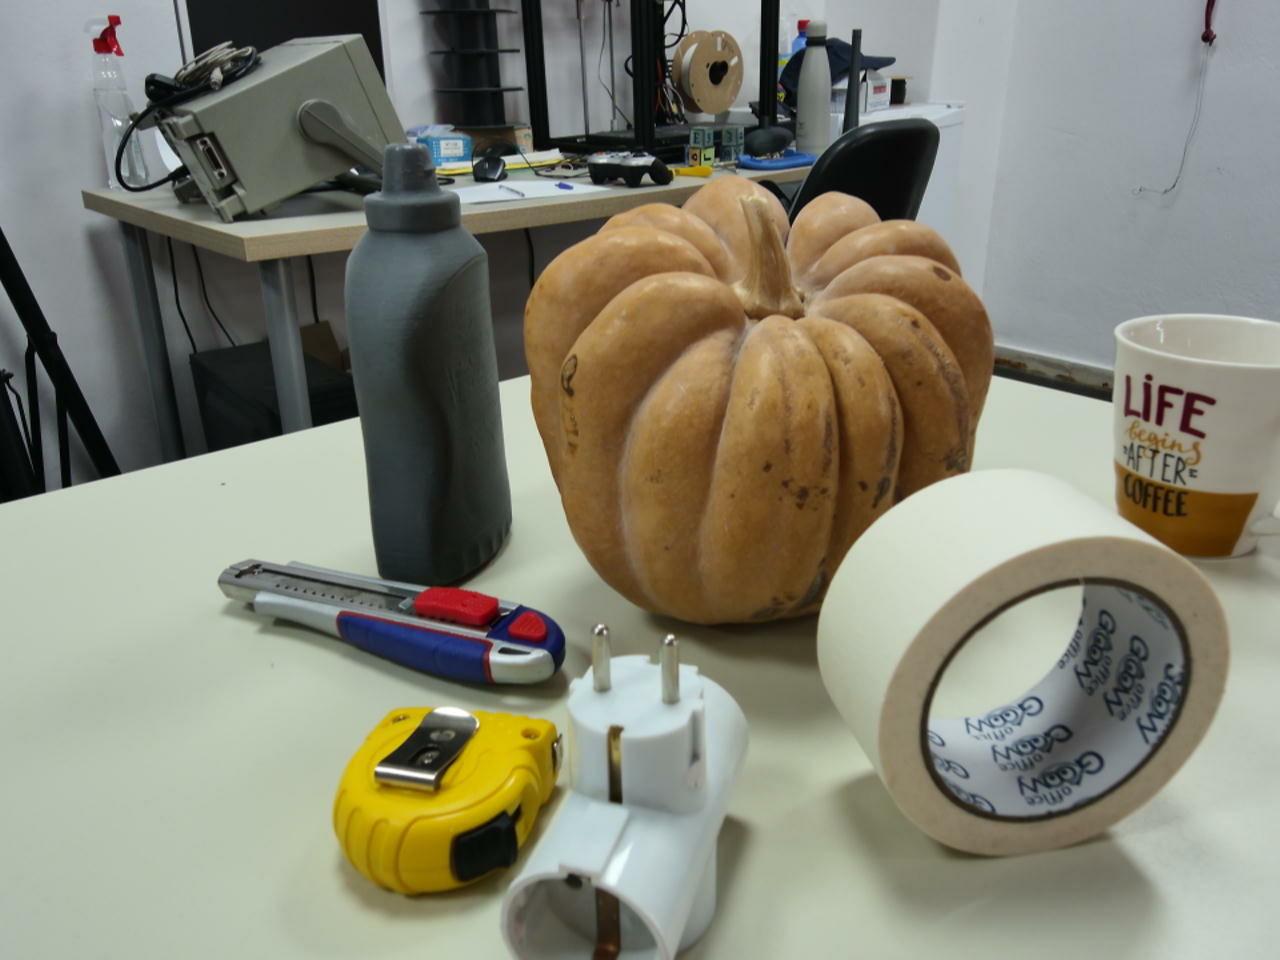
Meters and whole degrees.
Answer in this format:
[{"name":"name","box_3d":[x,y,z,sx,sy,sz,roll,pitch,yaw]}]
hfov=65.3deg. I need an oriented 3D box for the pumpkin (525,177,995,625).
[{"name":"pumpkin","box_3d":[0.049,-0.033,0.430,0.199,0.177,0.198,-1,22,0]}]
